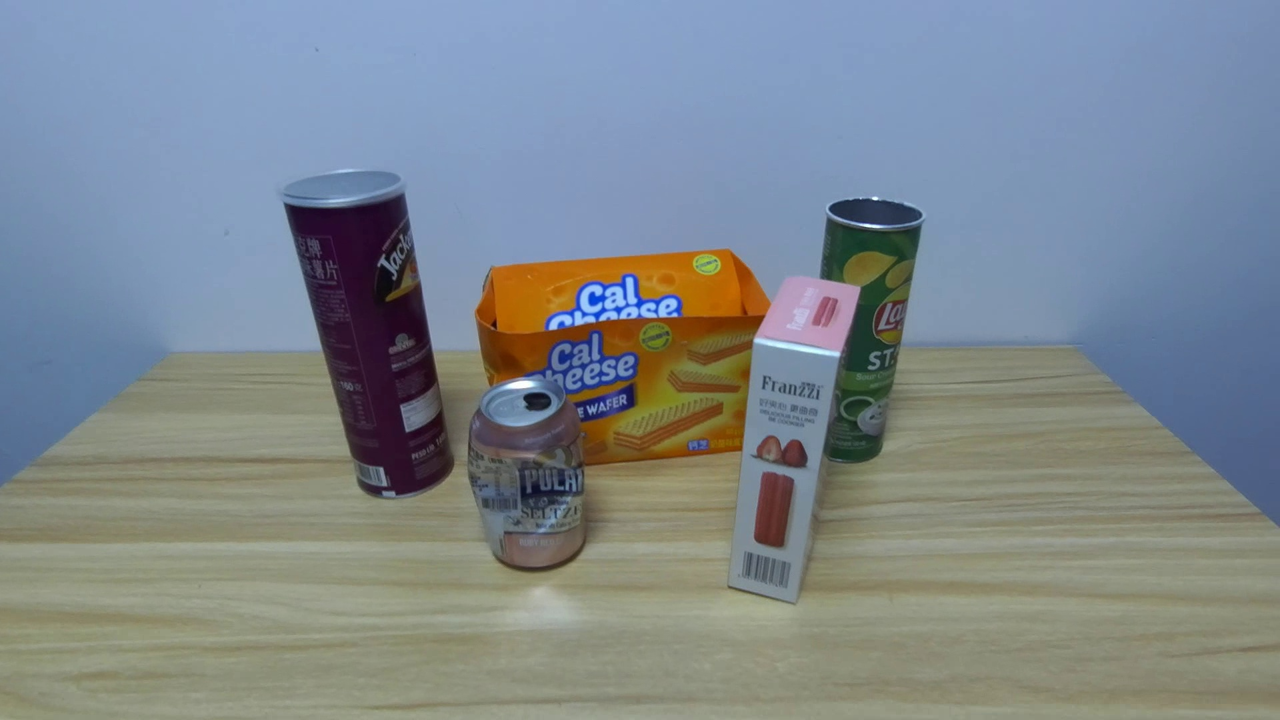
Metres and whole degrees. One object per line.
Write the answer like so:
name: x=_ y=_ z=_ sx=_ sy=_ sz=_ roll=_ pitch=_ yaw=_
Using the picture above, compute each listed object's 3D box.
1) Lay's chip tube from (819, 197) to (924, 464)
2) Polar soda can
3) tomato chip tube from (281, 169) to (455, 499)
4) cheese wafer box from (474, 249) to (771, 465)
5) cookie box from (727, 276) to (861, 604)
Lay's chip tube: x=0.170 y=-0.021 z=0.552 sx=0.071 sy=0.203 sz=0.071 roll=-1 pitch=30 yaw=1
Polar soda can: x=-0.070 y=0.077 z=0.469 sx=0.074 sy=0.122 sz=0.067 roll=19 pitch=36 yaw=32
tomato chip tube: x=-0.194 y=-0.013 z=0.520 sx=0.078 sy=0.234 sz=0.078 roll=-1 pitch=28 yaw=1
cheese wafer box: x=-0.016 y=-0.002 z=0.606 sx=0.231 sy=0.132 sz=0.152 roll=-4 pitch=30 yaw=-7
cookie box: x=0.095 y=0.051 z=0.442 sx=0.048 sy=0.185 sz=0.096 roll=11 pitch=31 yaw=17
